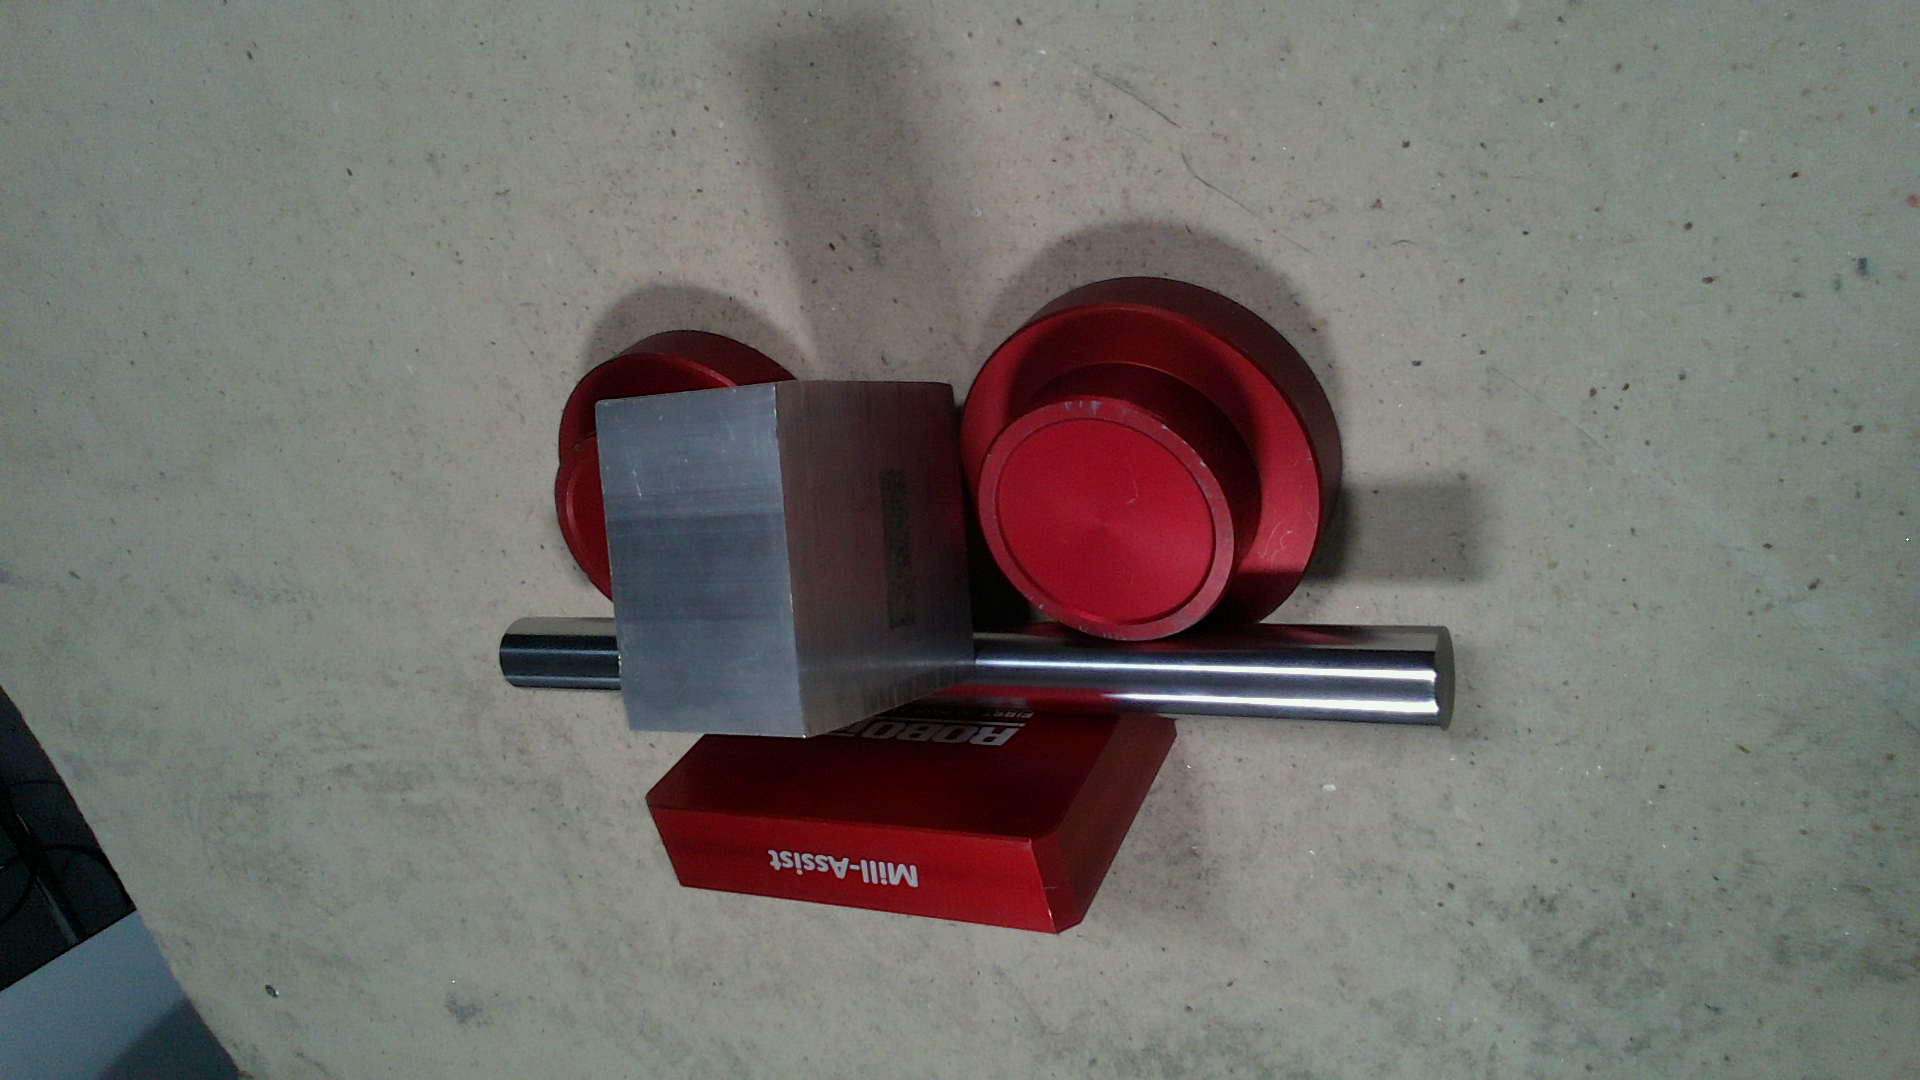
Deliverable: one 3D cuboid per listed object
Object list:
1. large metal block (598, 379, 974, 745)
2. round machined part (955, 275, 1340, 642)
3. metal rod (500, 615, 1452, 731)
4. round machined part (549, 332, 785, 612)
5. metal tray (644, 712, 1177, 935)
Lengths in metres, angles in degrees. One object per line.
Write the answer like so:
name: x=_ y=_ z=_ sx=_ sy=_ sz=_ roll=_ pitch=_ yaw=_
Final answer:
large metal block: x=-0.040 y=0.003 z=0.346 sx=0.050 sy=0.080 sz=0.080 roll=-2 pitch=94 yaw=29
round machined part: x=0.043 y=-0.014 z=0.350 sx=0.098 sy=0.042 sz=0.098 roll=13 pitch=124 yaw=21
metal rod: x=-0.016 y=0.035 z=0.397 sx=0.299 sy=0.025 sz=0.025 roll=-1 pitch=118 yaw=29
round machined part: x=-0.084 y=-0.010 z=0.419 sx=0.098 sy=0.042 sz=0.098 roll=13 pitch=124 yaw=21
metal tray: x=-0.013 y=0.065 z=0.398 sx=0.130 sy=0.090 sz=0.030 roll=-1 pitch=118 yaw=29
